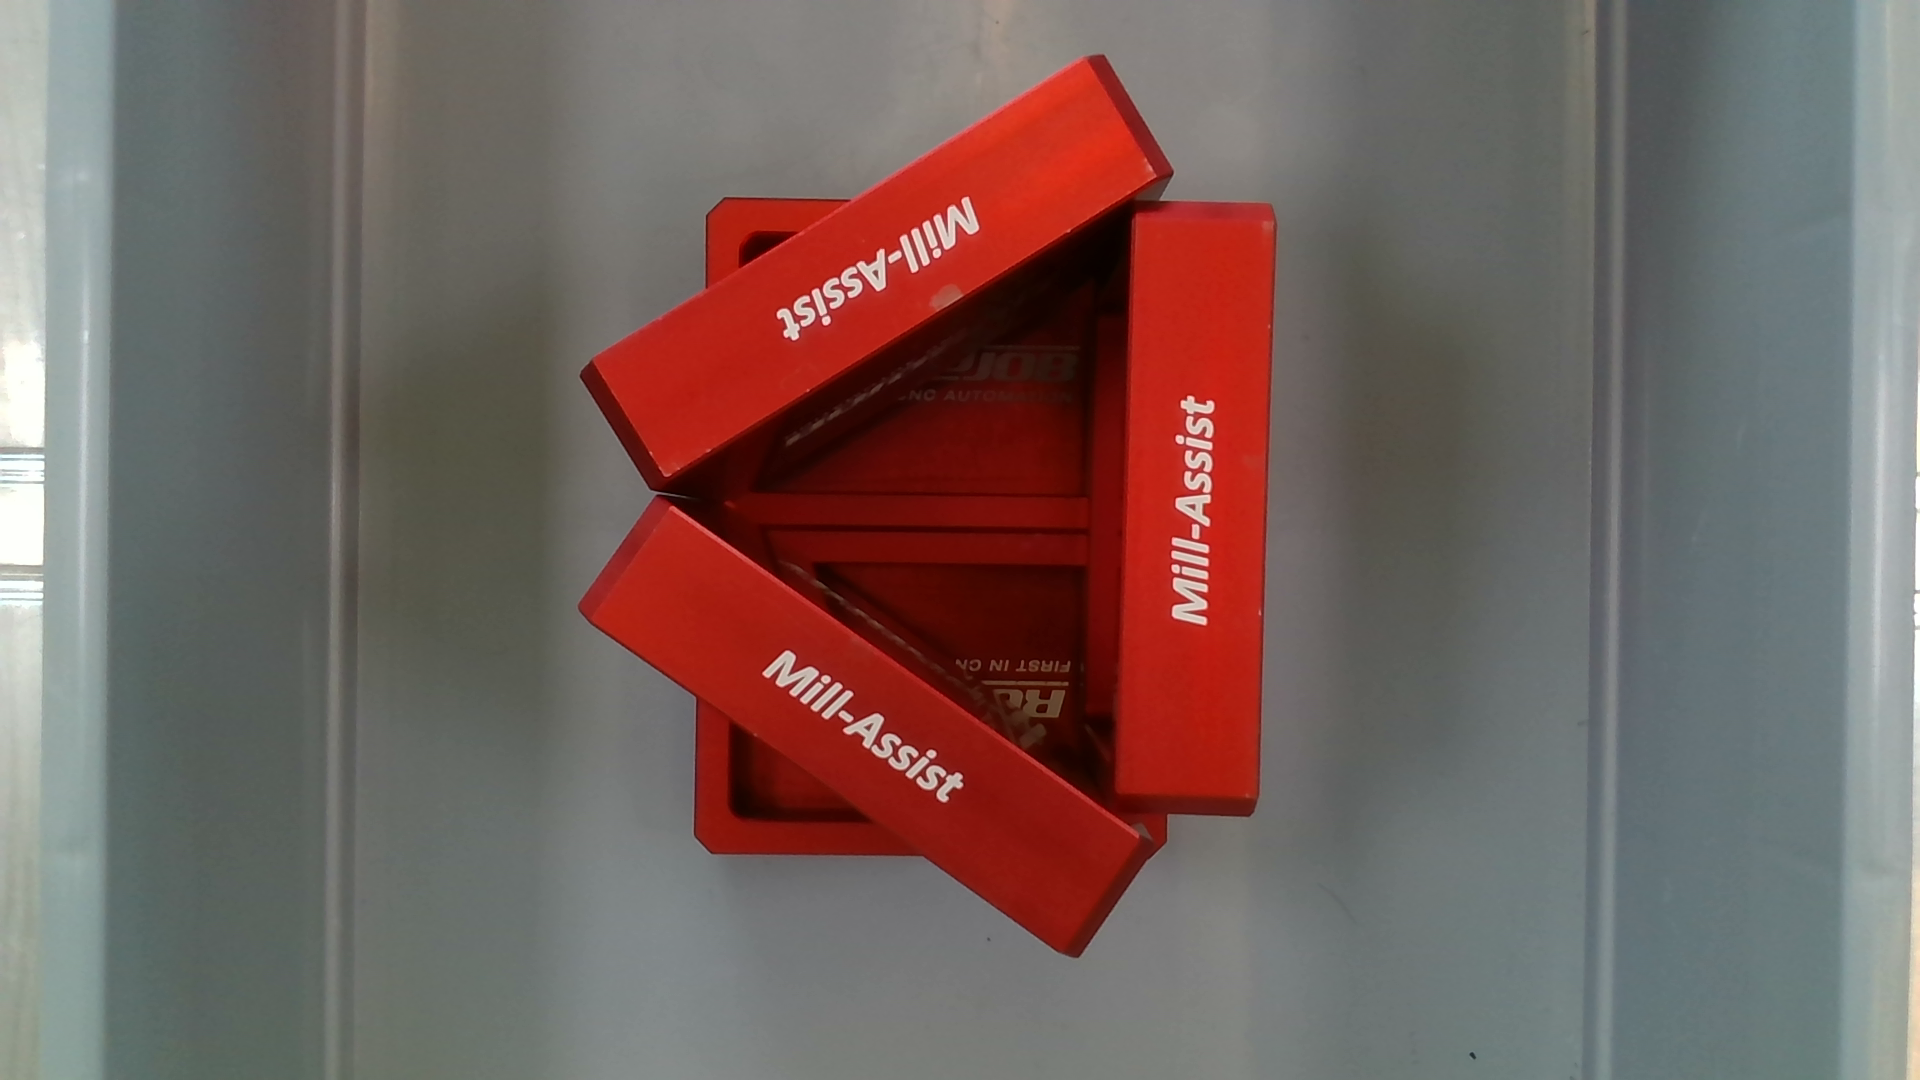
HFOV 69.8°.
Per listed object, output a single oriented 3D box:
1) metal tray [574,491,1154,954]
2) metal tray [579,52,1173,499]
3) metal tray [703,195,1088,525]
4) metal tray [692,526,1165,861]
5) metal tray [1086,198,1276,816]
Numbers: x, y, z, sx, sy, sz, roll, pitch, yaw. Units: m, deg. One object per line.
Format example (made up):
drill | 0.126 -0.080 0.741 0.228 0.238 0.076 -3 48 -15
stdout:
metal tray | -0.020 0.039 0.331 0.130 0.090 0.030 35 90 0
metal tray | -0.018 -0.057 0.331 0.130 0.090 0.030 -31 89 0
metal tray | -0.006 -0.049 0.393 0.130 0.030 0.090 0 90 -1
metal tray | -0.008 0.042 0.393 0.130 0.030 0.090 1 90 -1
metal tray | 0.049 -0.007 0.331 0.030 0.090 0.130 2 90 0
